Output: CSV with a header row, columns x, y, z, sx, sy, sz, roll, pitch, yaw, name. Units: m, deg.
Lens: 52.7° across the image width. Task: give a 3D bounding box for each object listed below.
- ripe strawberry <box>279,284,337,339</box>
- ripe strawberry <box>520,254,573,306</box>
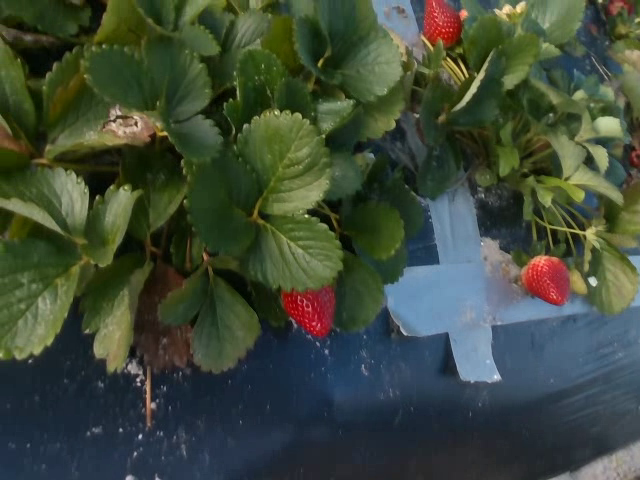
x,y,z,sx,sy,sz,roll,pitch,yaw,name
-0.003,0.019,0.184,0.018,0.022,0.021,-11,-26,-17,ripe strawberry
0.093,0.017,0.254,0.023,0.020,0.026,6,43,-9,ripe strawberry
